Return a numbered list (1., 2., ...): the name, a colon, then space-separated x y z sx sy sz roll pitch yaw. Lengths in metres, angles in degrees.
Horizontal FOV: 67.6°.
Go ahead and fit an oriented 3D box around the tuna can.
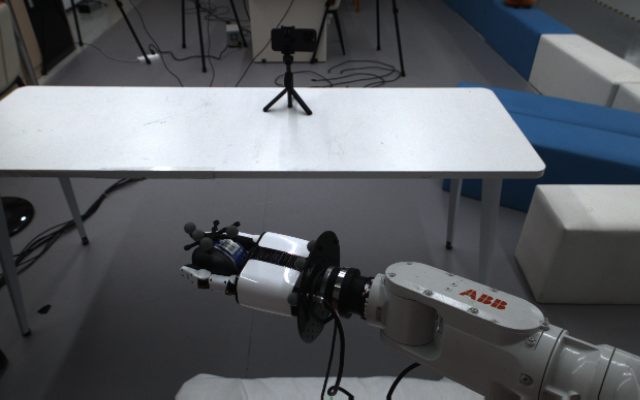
1. tuna can: -0.146 0.096 0.724 0.085 0.085 0.034 17 35 20
